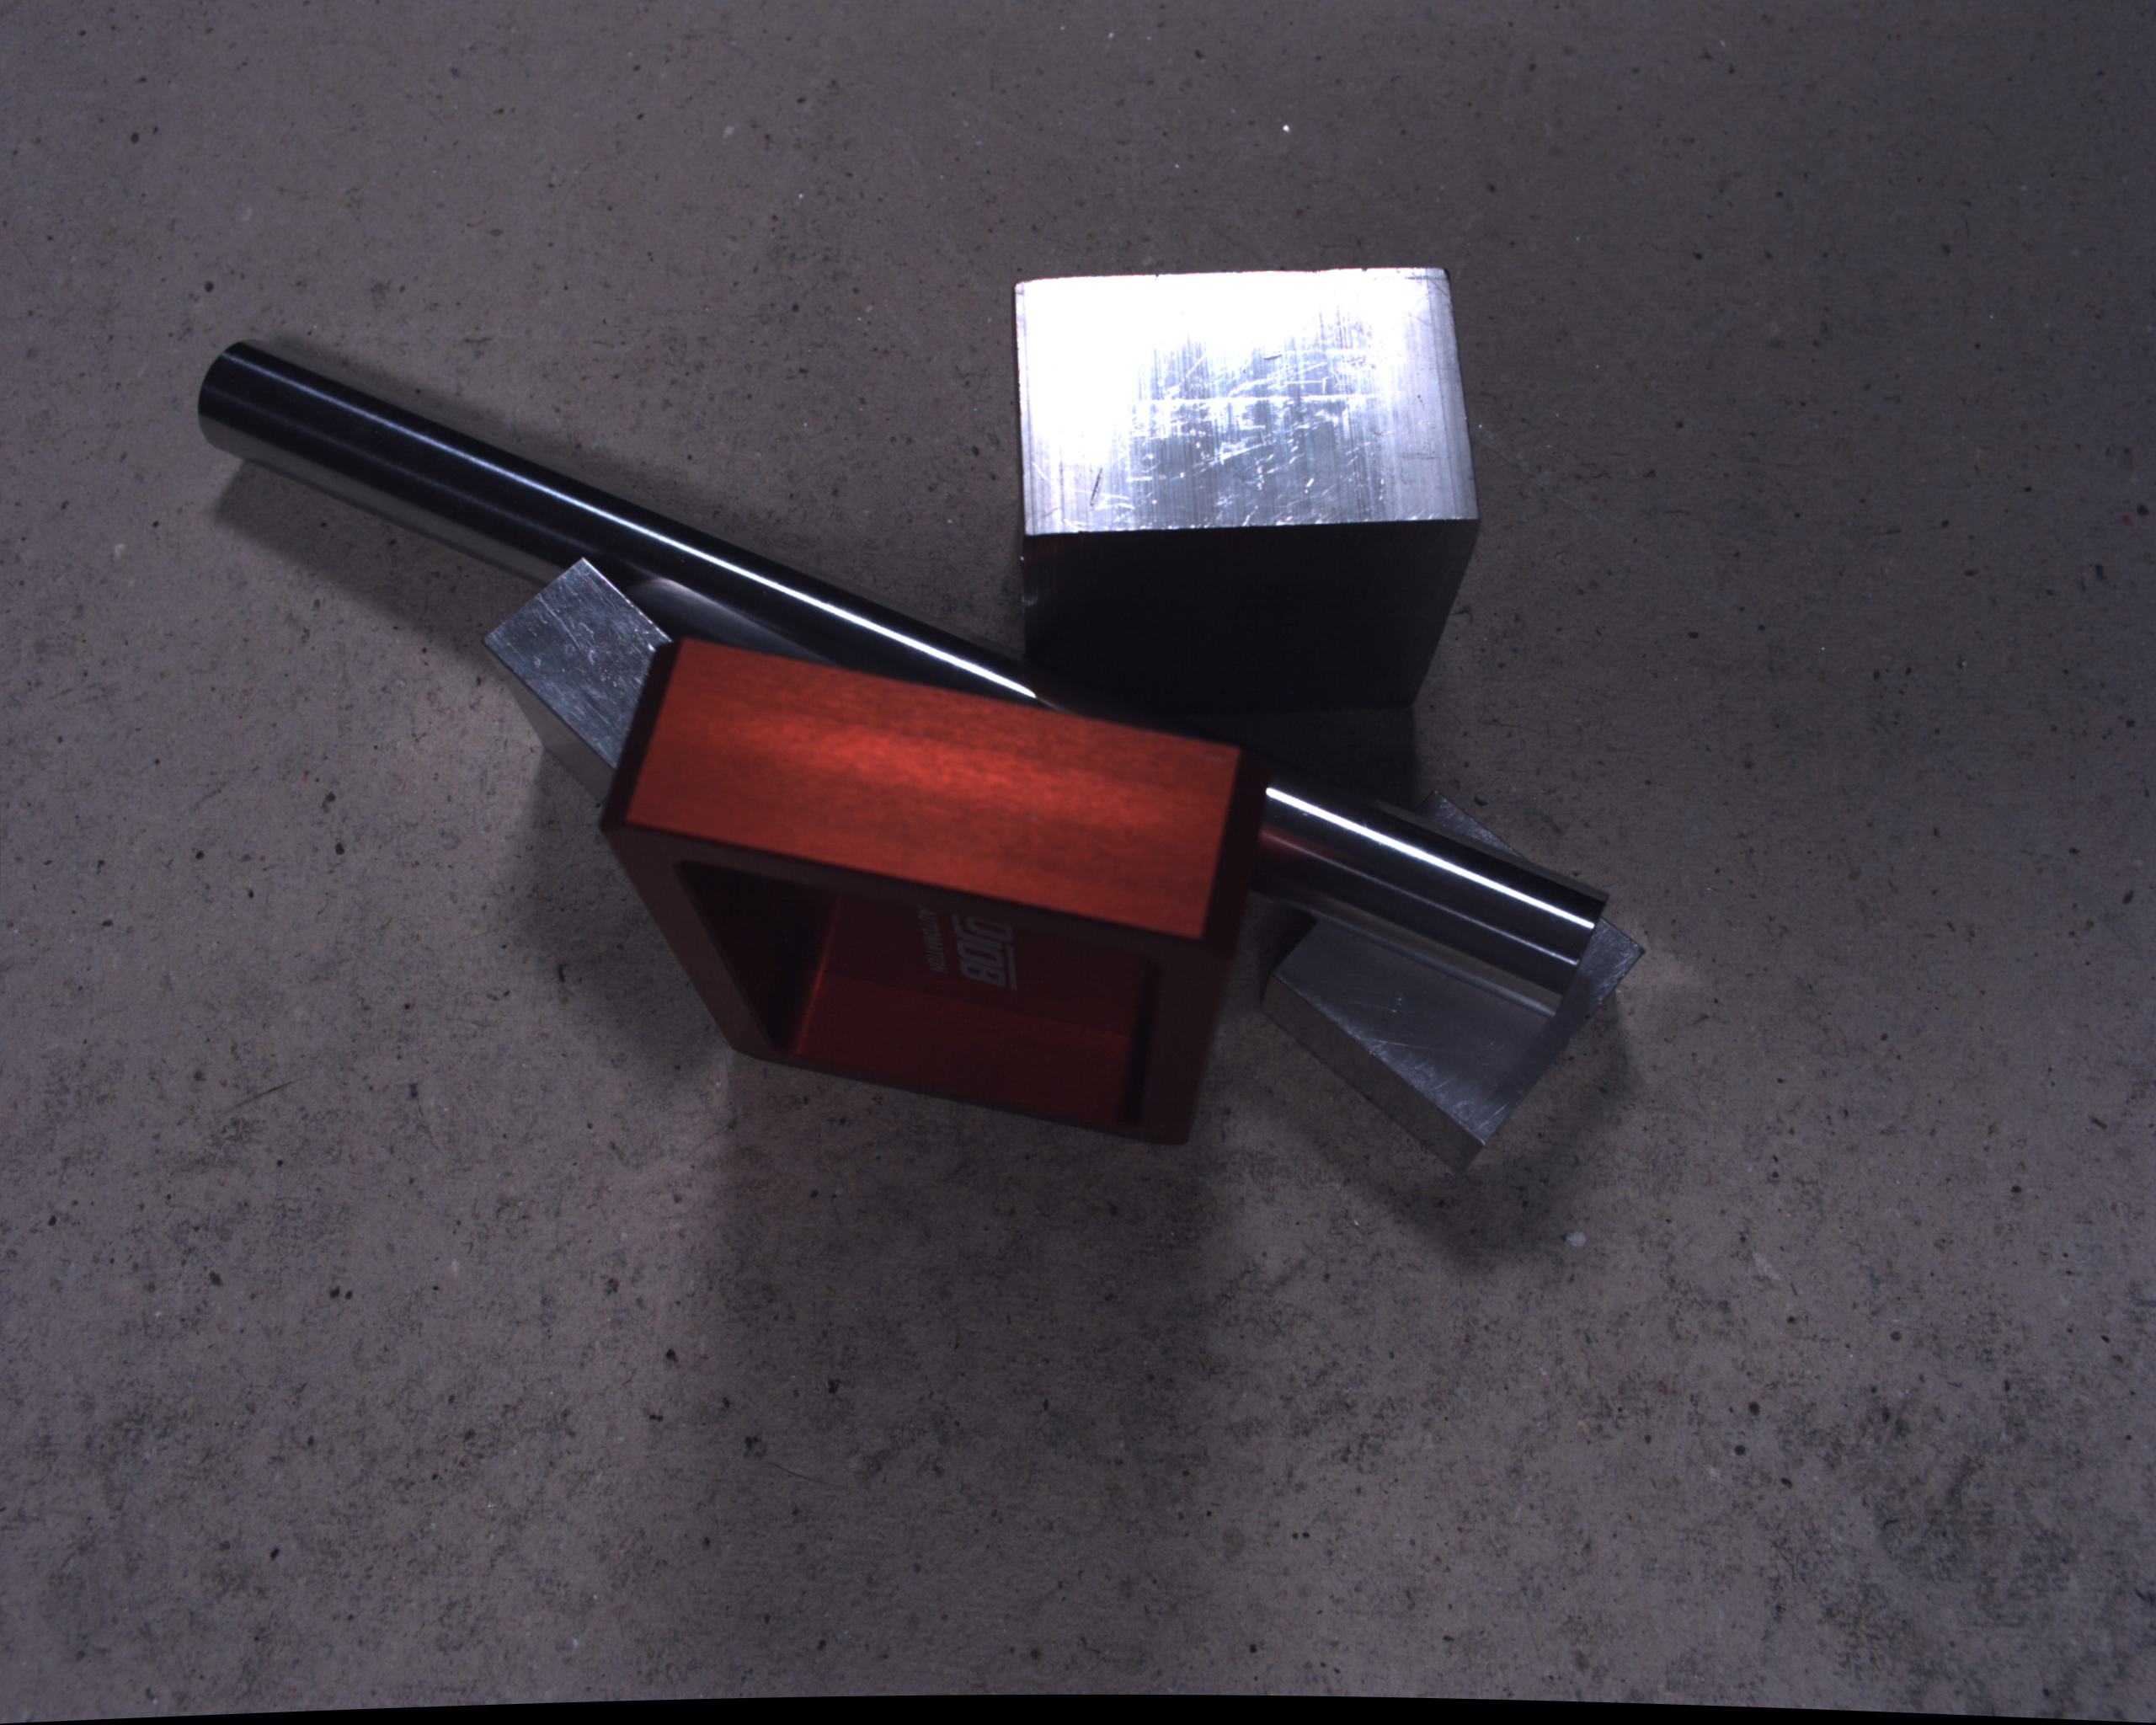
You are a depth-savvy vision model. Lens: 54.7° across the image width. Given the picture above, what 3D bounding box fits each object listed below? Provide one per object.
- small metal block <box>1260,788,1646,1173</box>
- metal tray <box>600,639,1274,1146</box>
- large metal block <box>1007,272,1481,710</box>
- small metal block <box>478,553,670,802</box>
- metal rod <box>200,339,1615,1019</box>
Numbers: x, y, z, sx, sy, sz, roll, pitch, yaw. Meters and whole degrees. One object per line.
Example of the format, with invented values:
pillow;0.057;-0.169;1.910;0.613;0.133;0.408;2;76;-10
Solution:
small metal block;0.071;0.023;0.402;0.050;0.025;0.050;40;74;13
metal tray;-0.020;0.011;0.349;0.090;0.130;0.030;12;71;4
large metal block;0.028;-0.068;0.404;0.081;0.080;0.050;-2;70;-1
small metal block;-0.083;-0.025;0.403;0.050;0.050;0.025;43;75;13
metal rod;-0.043;-0.041;0.409;0.301;0.025;0.025;23;72;13
